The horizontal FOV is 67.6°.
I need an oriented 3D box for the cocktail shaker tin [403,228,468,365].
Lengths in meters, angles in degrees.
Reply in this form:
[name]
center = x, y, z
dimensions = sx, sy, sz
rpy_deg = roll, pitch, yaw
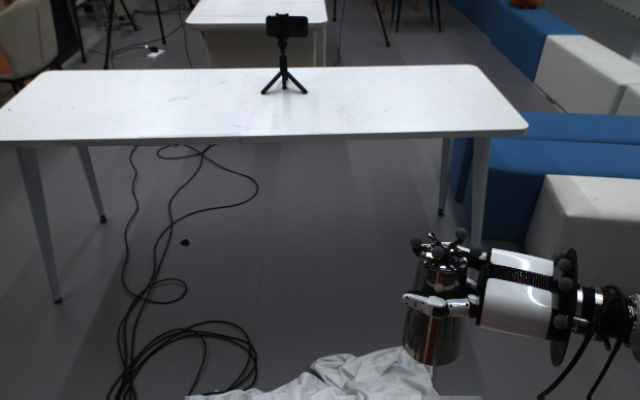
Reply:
[cocktail shaker tin]
center = 0.177, 0.147, 0.717
dimensions = 0.093, 0.170, 0.093
rpy_deg = -1, 32, 1
